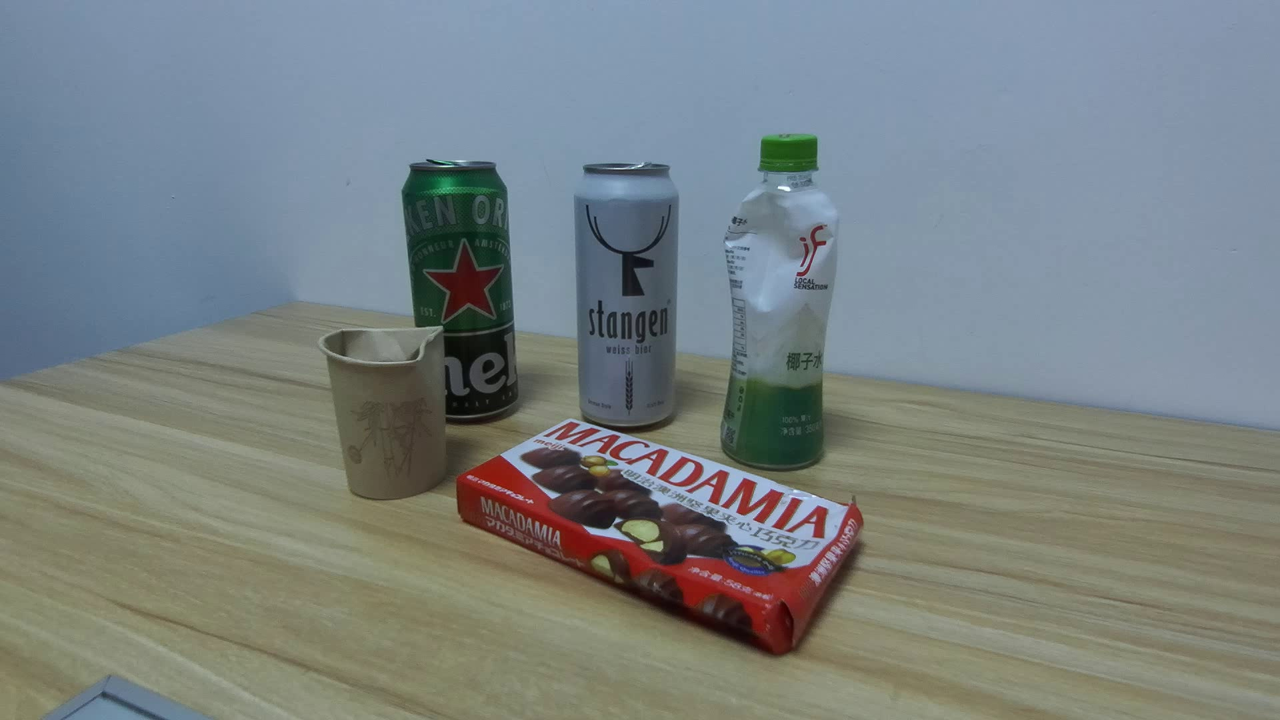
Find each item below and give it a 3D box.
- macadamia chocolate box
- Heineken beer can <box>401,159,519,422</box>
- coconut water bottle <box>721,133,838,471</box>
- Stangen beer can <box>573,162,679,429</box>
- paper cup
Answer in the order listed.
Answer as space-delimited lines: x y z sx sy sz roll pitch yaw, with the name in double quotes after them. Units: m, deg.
0.008 0.076 0.349 0.182 0.028 0.106 13 23 30 "macadamia chocolate box"
-0.120 -0.045 0.481 0.067 0.169 0.067 0 18 0 "Heineken beer can"
0.083 -0.033 0.411 0.069 0.187 0.069 1 18 0 "coconut water bottle"
-0.008 -0.041 0.467 0.067 0.171 0.067 1 17 0 "Stangen beer can"
-0.142 0.029 0.393 0.066 0.084 0.071 0 18 -1 "paper cup"
